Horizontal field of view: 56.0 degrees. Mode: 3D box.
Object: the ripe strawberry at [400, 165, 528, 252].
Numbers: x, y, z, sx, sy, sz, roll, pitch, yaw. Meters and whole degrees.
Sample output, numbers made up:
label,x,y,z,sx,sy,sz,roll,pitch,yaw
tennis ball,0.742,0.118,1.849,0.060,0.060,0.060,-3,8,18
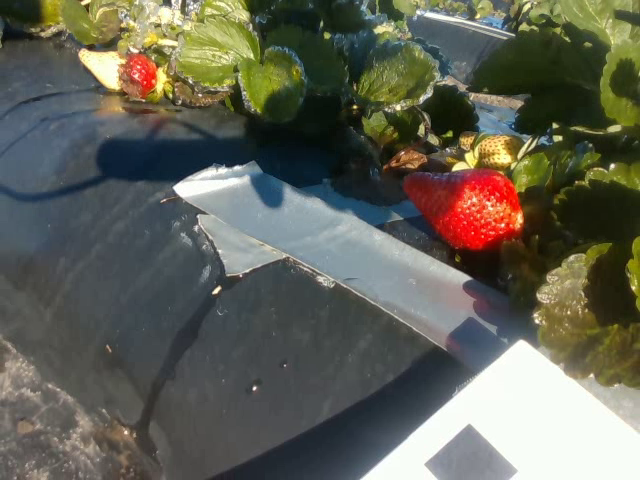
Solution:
label,x,y,z,sx,sy,sz,roll,pitch,yaw
ripe strawberry,0.072,-0.018,0.318,0.065,0.062,0.057,19,-44,-32
